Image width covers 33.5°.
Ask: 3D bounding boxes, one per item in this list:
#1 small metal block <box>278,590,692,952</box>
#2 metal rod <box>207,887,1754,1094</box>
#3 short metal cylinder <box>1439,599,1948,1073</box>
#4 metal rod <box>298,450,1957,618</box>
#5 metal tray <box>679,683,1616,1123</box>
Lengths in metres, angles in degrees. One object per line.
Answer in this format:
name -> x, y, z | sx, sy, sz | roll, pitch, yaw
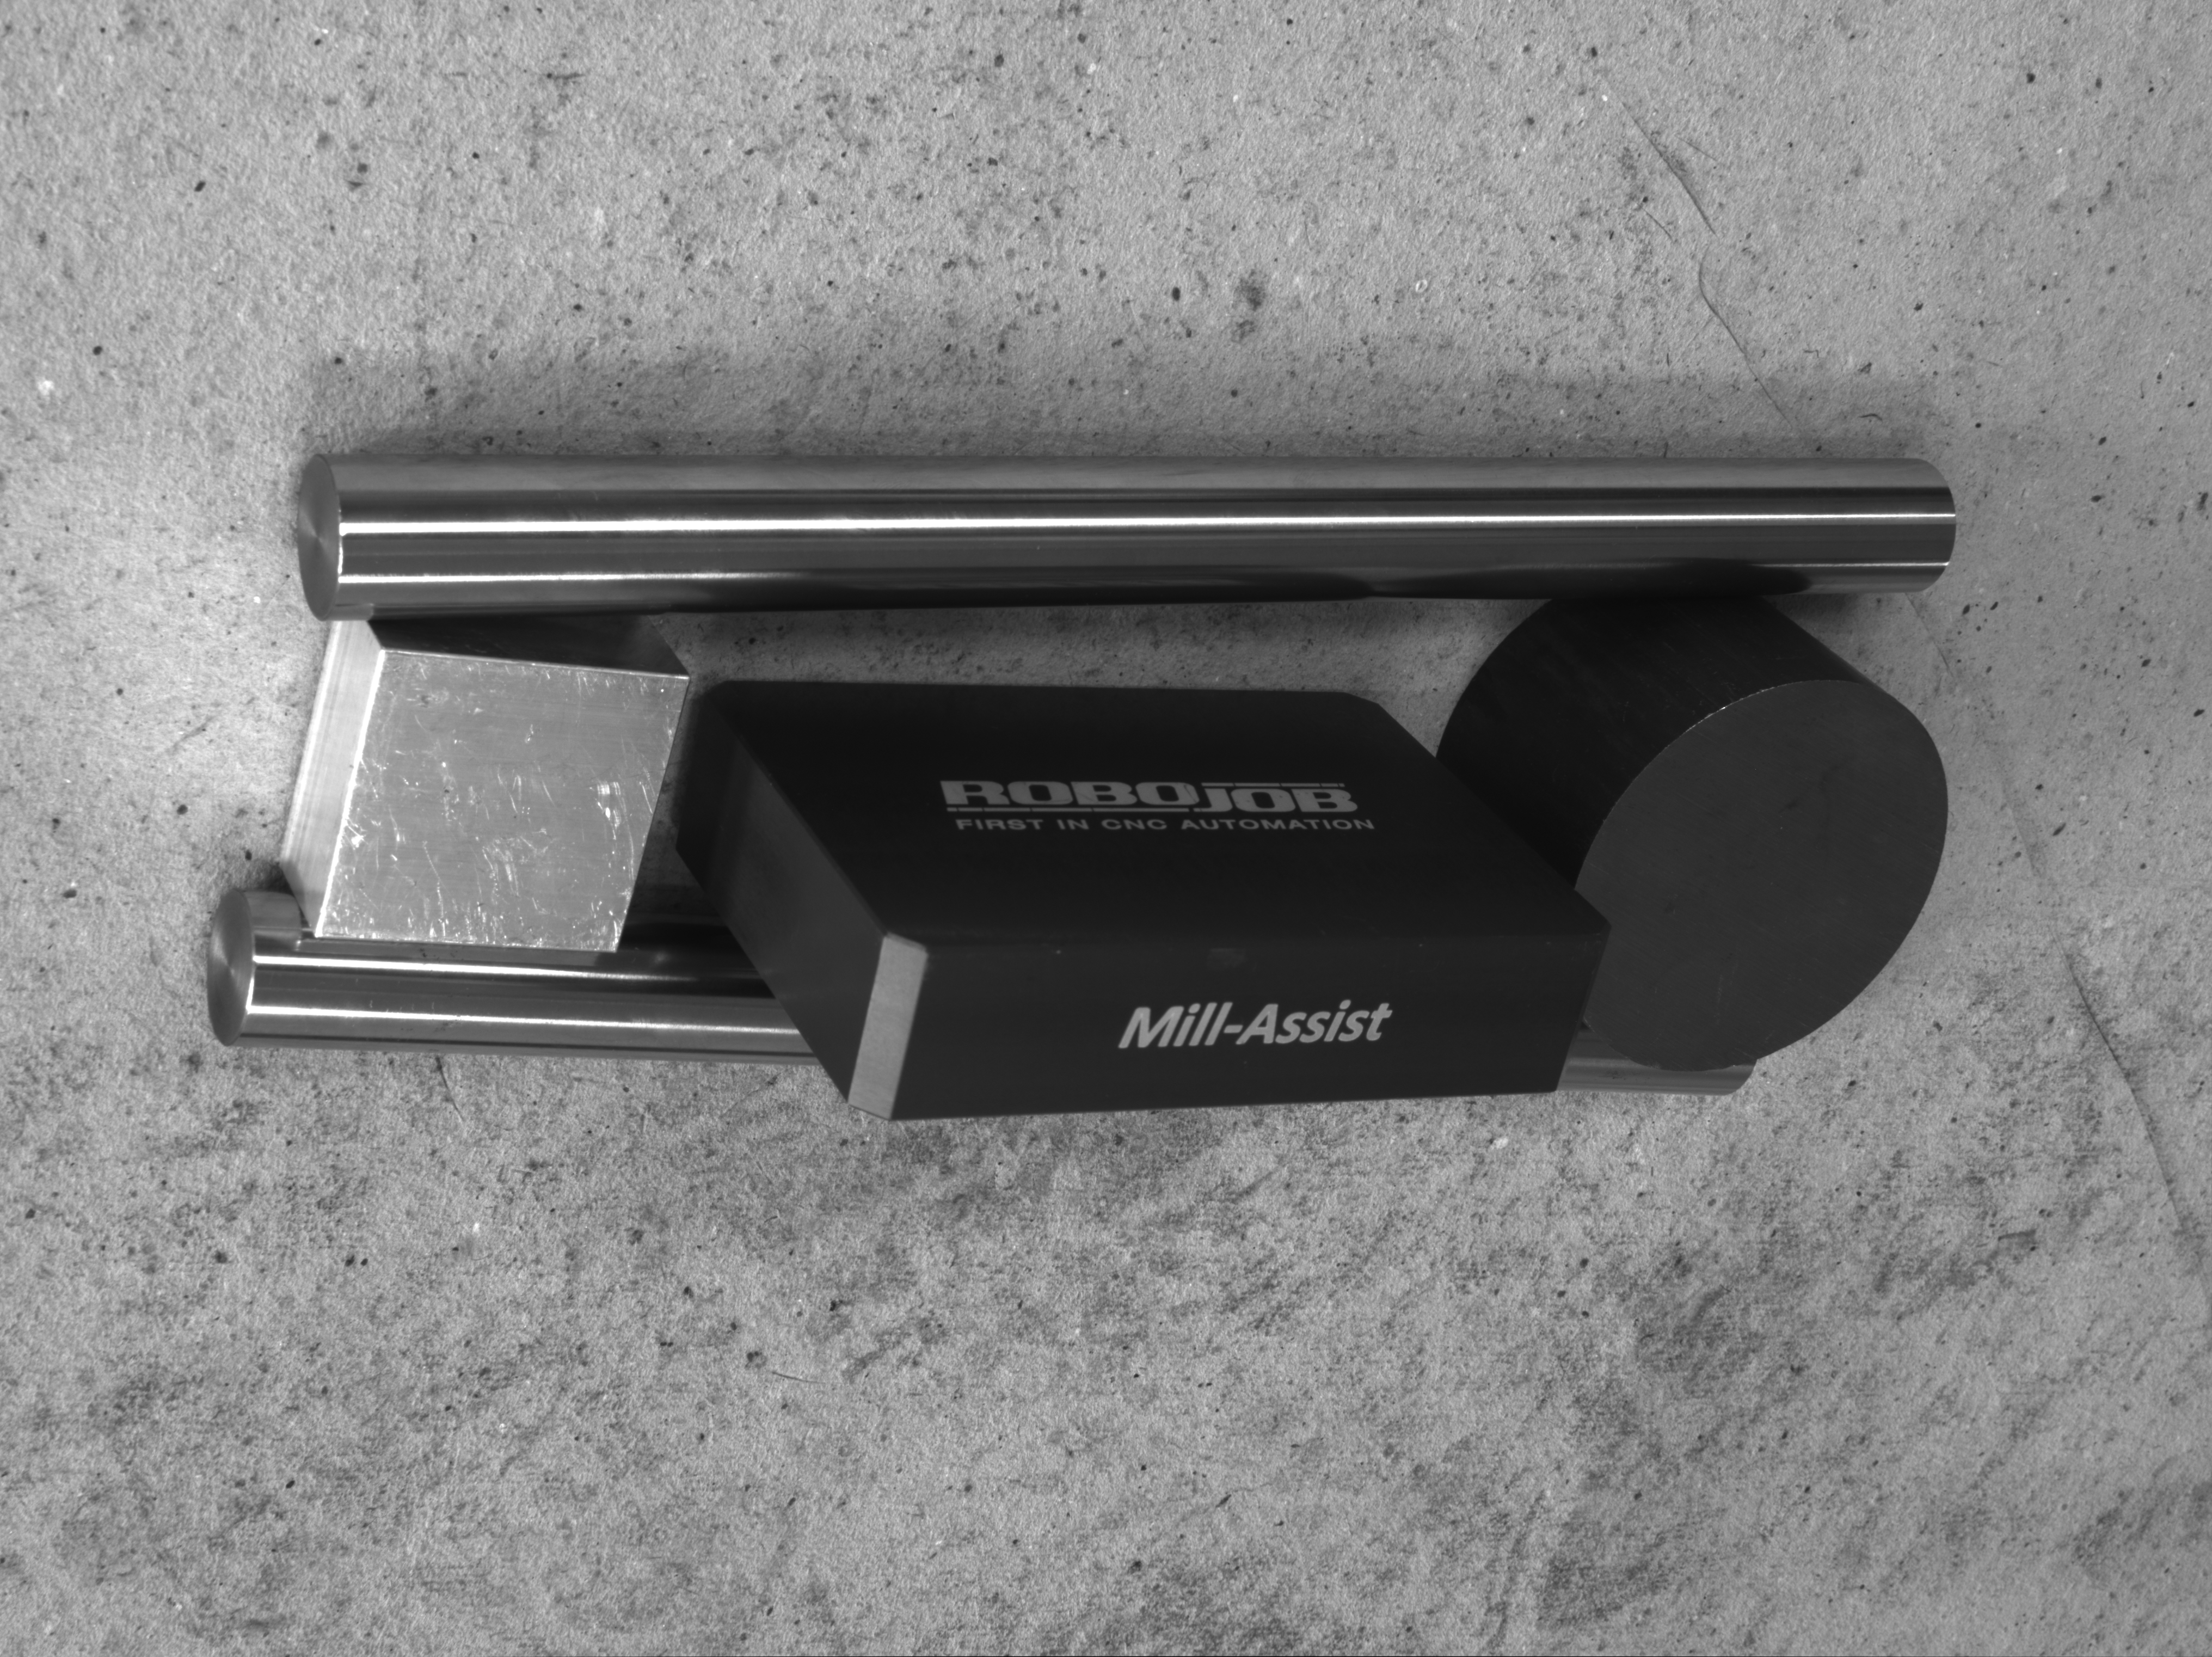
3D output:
small metal block -> -0.099, -0.010, 0.580 | 0.050, 0.025, 0.050 | 4, 116, -30
metal rod -> -0.008, 0.031, 0.653 | 0.301, 0.025, 0.025 | 4, 116, -30
short metal cylinder -> 0.107, -0.002, 0.678 | 0.080, 0.050, 0.080 | -13, 124, -21
metal rod -> 0.017, -0.050, 0.617 | 0.301, 0.025, 0.025 | -3, 119, -27
metal tray -> 0.006, 0.010, 0.604 | 0.130, 0.090, 0.030 | 0, 118, -28
